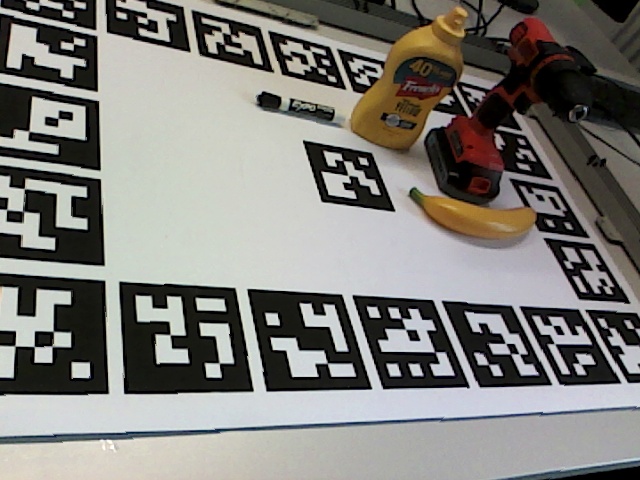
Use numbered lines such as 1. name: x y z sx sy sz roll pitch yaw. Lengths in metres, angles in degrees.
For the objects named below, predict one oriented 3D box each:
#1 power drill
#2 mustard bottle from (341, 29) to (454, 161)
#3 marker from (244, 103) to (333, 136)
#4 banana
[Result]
1. power drill: 0.223 -0.137 0.794 0.057 0.187 0.185 18 43 -20
2. mustard bottle: 0.109 -0.188 0.794 0.096 0.192 0.058 16 46 -21
3. marker: -0.040 -0.156 0.802 0.120 0.020 0.020 8 51 -26
4. banana: 0.192 -0.011 0.805 0.196 0.039 0.074 11 50 -20
